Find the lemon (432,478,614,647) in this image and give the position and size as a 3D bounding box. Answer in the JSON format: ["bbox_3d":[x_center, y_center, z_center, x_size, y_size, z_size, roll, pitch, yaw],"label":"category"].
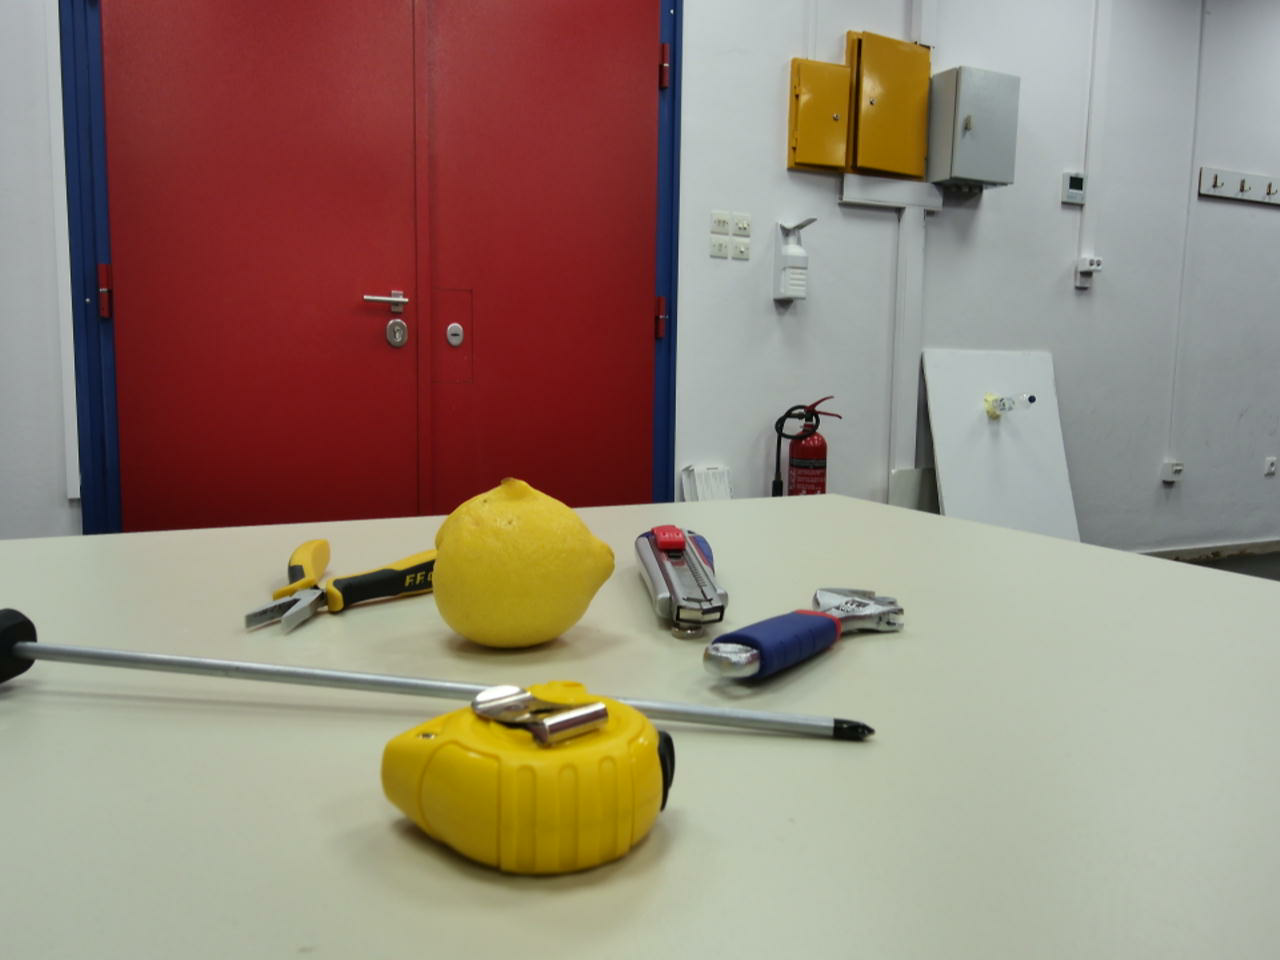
[{"bbox_3d":[-0.054,0.034,0.426,0.071,0.071,0.070,2,5,30],"label":"lemon"}]
